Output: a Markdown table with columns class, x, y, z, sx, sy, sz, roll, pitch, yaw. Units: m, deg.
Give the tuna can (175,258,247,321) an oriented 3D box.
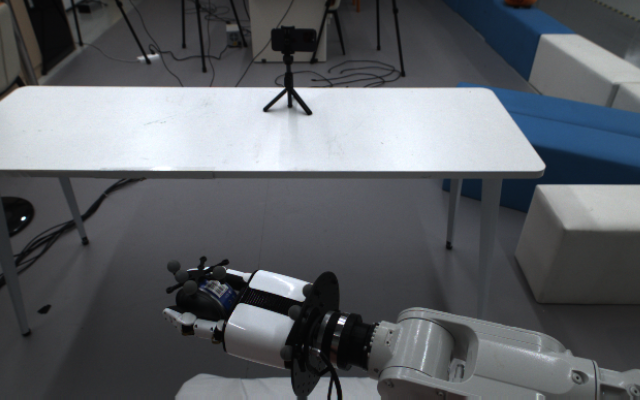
| class | x | y | z | sx | sy | sz | roll | pitch | yaw |
| --- | --- | --- | --- | --- | --- | --- | --- | --- | --- |
| tuna can | -0.149 | 0.142 | 0.656 | 0.085 | 0.085 | 0.034 | 17 | 35 | 20 |
